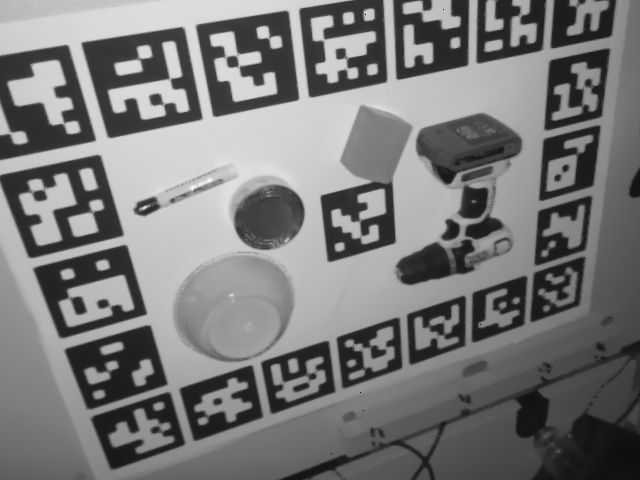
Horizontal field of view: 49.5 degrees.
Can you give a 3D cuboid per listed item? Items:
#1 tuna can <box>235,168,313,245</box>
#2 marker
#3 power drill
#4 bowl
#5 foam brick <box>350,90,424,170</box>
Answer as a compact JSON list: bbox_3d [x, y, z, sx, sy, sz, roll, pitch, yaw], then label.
[{"bbox_3d":[-0.053,-0.039,0.796,0.086,0.033,0.085,-9,118,-15],"label":"tuna can"},{"bbox_3d":[-0.142,-0.066,0.754,0.122,0.019,0.019,-23,120,-9],"label":"marker"},{"bbox_3d":[0.200,-0.056,0.881,0.186,0.057,0.185,-14,122,-11],"label":"power drill"},{"bbox_3d":[-0.086,0.085,0.845,0.163,0.055,0.160,-14,127,-19],"label":"bowl"},{"bbox_3d":[0.077,-0.127,0.801,0.052,0.052,0.077,9,111,-23],"label":"foam brick"}]
